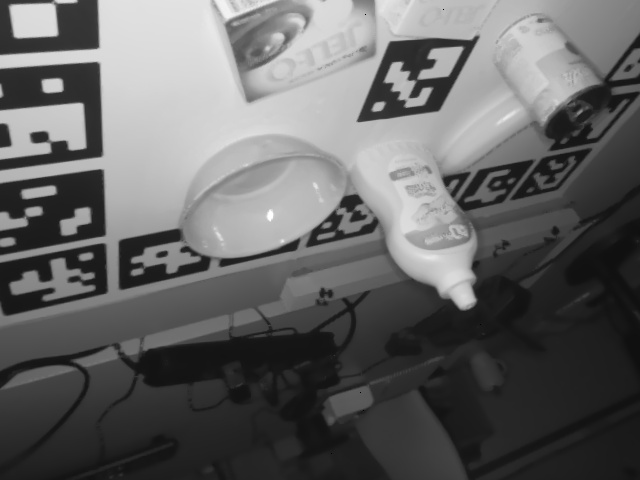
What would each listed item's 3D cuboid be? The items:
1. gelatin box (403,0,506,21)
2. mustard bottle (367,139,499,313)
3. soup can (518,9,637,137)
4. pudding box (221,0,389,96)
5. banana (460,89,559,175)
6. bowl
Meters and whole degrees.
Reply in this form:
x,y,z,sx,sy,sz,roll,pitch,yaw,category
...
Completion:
x,y,z,sx,sy,sz,roll,pitch,yaw,category
0.119,-0.213,0.553,0.091,0.030,0.072,-8,144,-30,gelatin box
0.126,-0.013,0.704,0.097,0.191,0.057,-11,152,-23,mustard bottle
0.238,-0.157,0.650,0.068,0.102,0.067,-17,152,-9,soup can
-0.009,-0.168,0.517,0.114,0.038,0.090,-24,146,-3,pudding box
0.236,-0.134,0.773,0.195,0.039,0.075,-35,160,18,banana
-0.055,-0.057,0.659,0.163,0.055,0.160,-21,153,-10,bowl
